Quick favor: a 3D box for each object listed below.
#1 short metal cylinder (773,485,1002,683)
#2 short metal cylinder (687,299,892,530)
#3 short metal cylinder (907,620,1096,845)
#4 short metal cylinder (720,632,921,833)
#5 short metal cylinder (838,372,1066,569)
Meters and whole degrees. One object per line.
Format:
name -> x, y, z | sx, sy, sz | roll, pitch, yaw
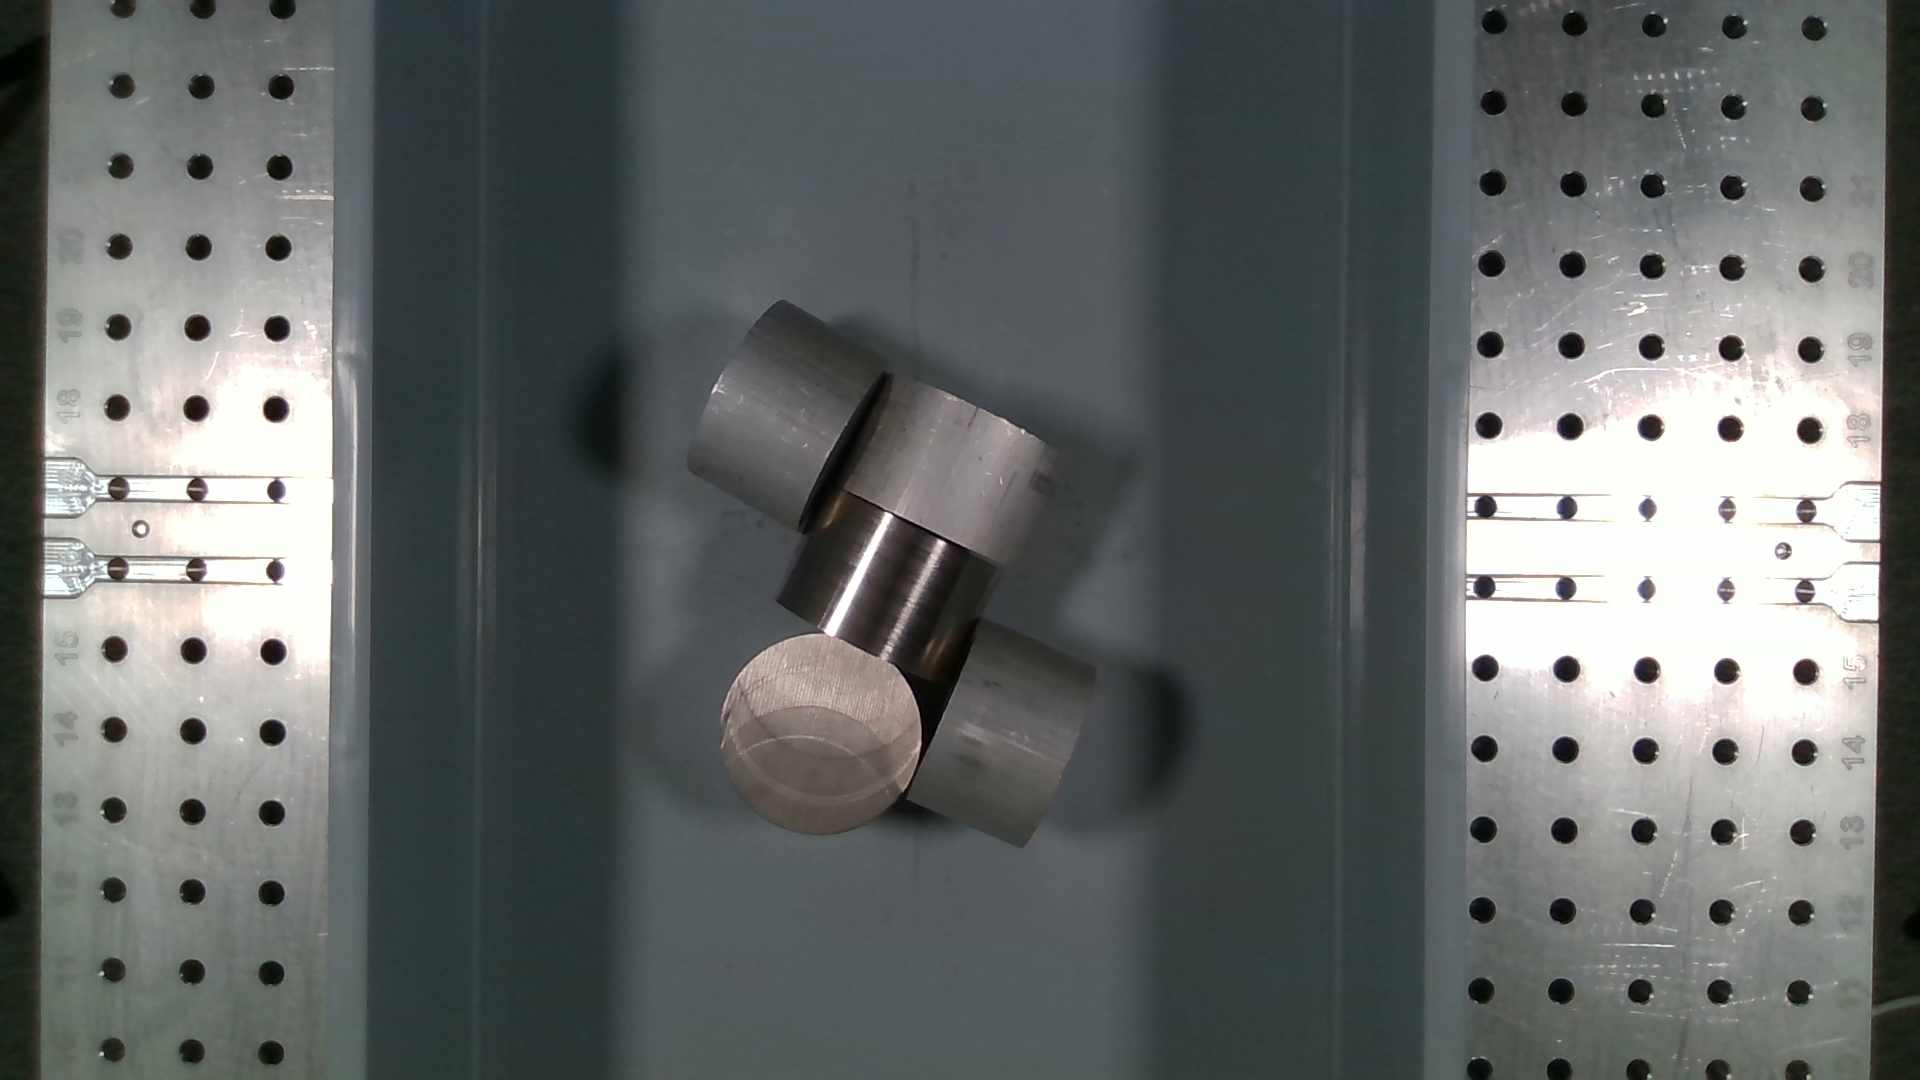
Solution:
short metal cylinder -> -0.029, 0.017, 0.559 | 0.080, 0.080, 0.050 | 27, 90, 0
short metal cylinder -> -0.068, -0.050, 0.558 | 0.050, 0.080, 0.080 | 29, 90, 0
short metal cylinder -> 0.016, 0.077, 0.559 | 0.050, 0.080, 0.080 | 23, 90, 0
short metal cylinder -> -0.056, 0.077, 0.574 | 0.080, 0.050, 0.080 | 0, 90, 0
short metal cylinder -> -0.004, -0.028, 0.558 | 0.080, 0.080, 0.050 | 25, 90, 0
